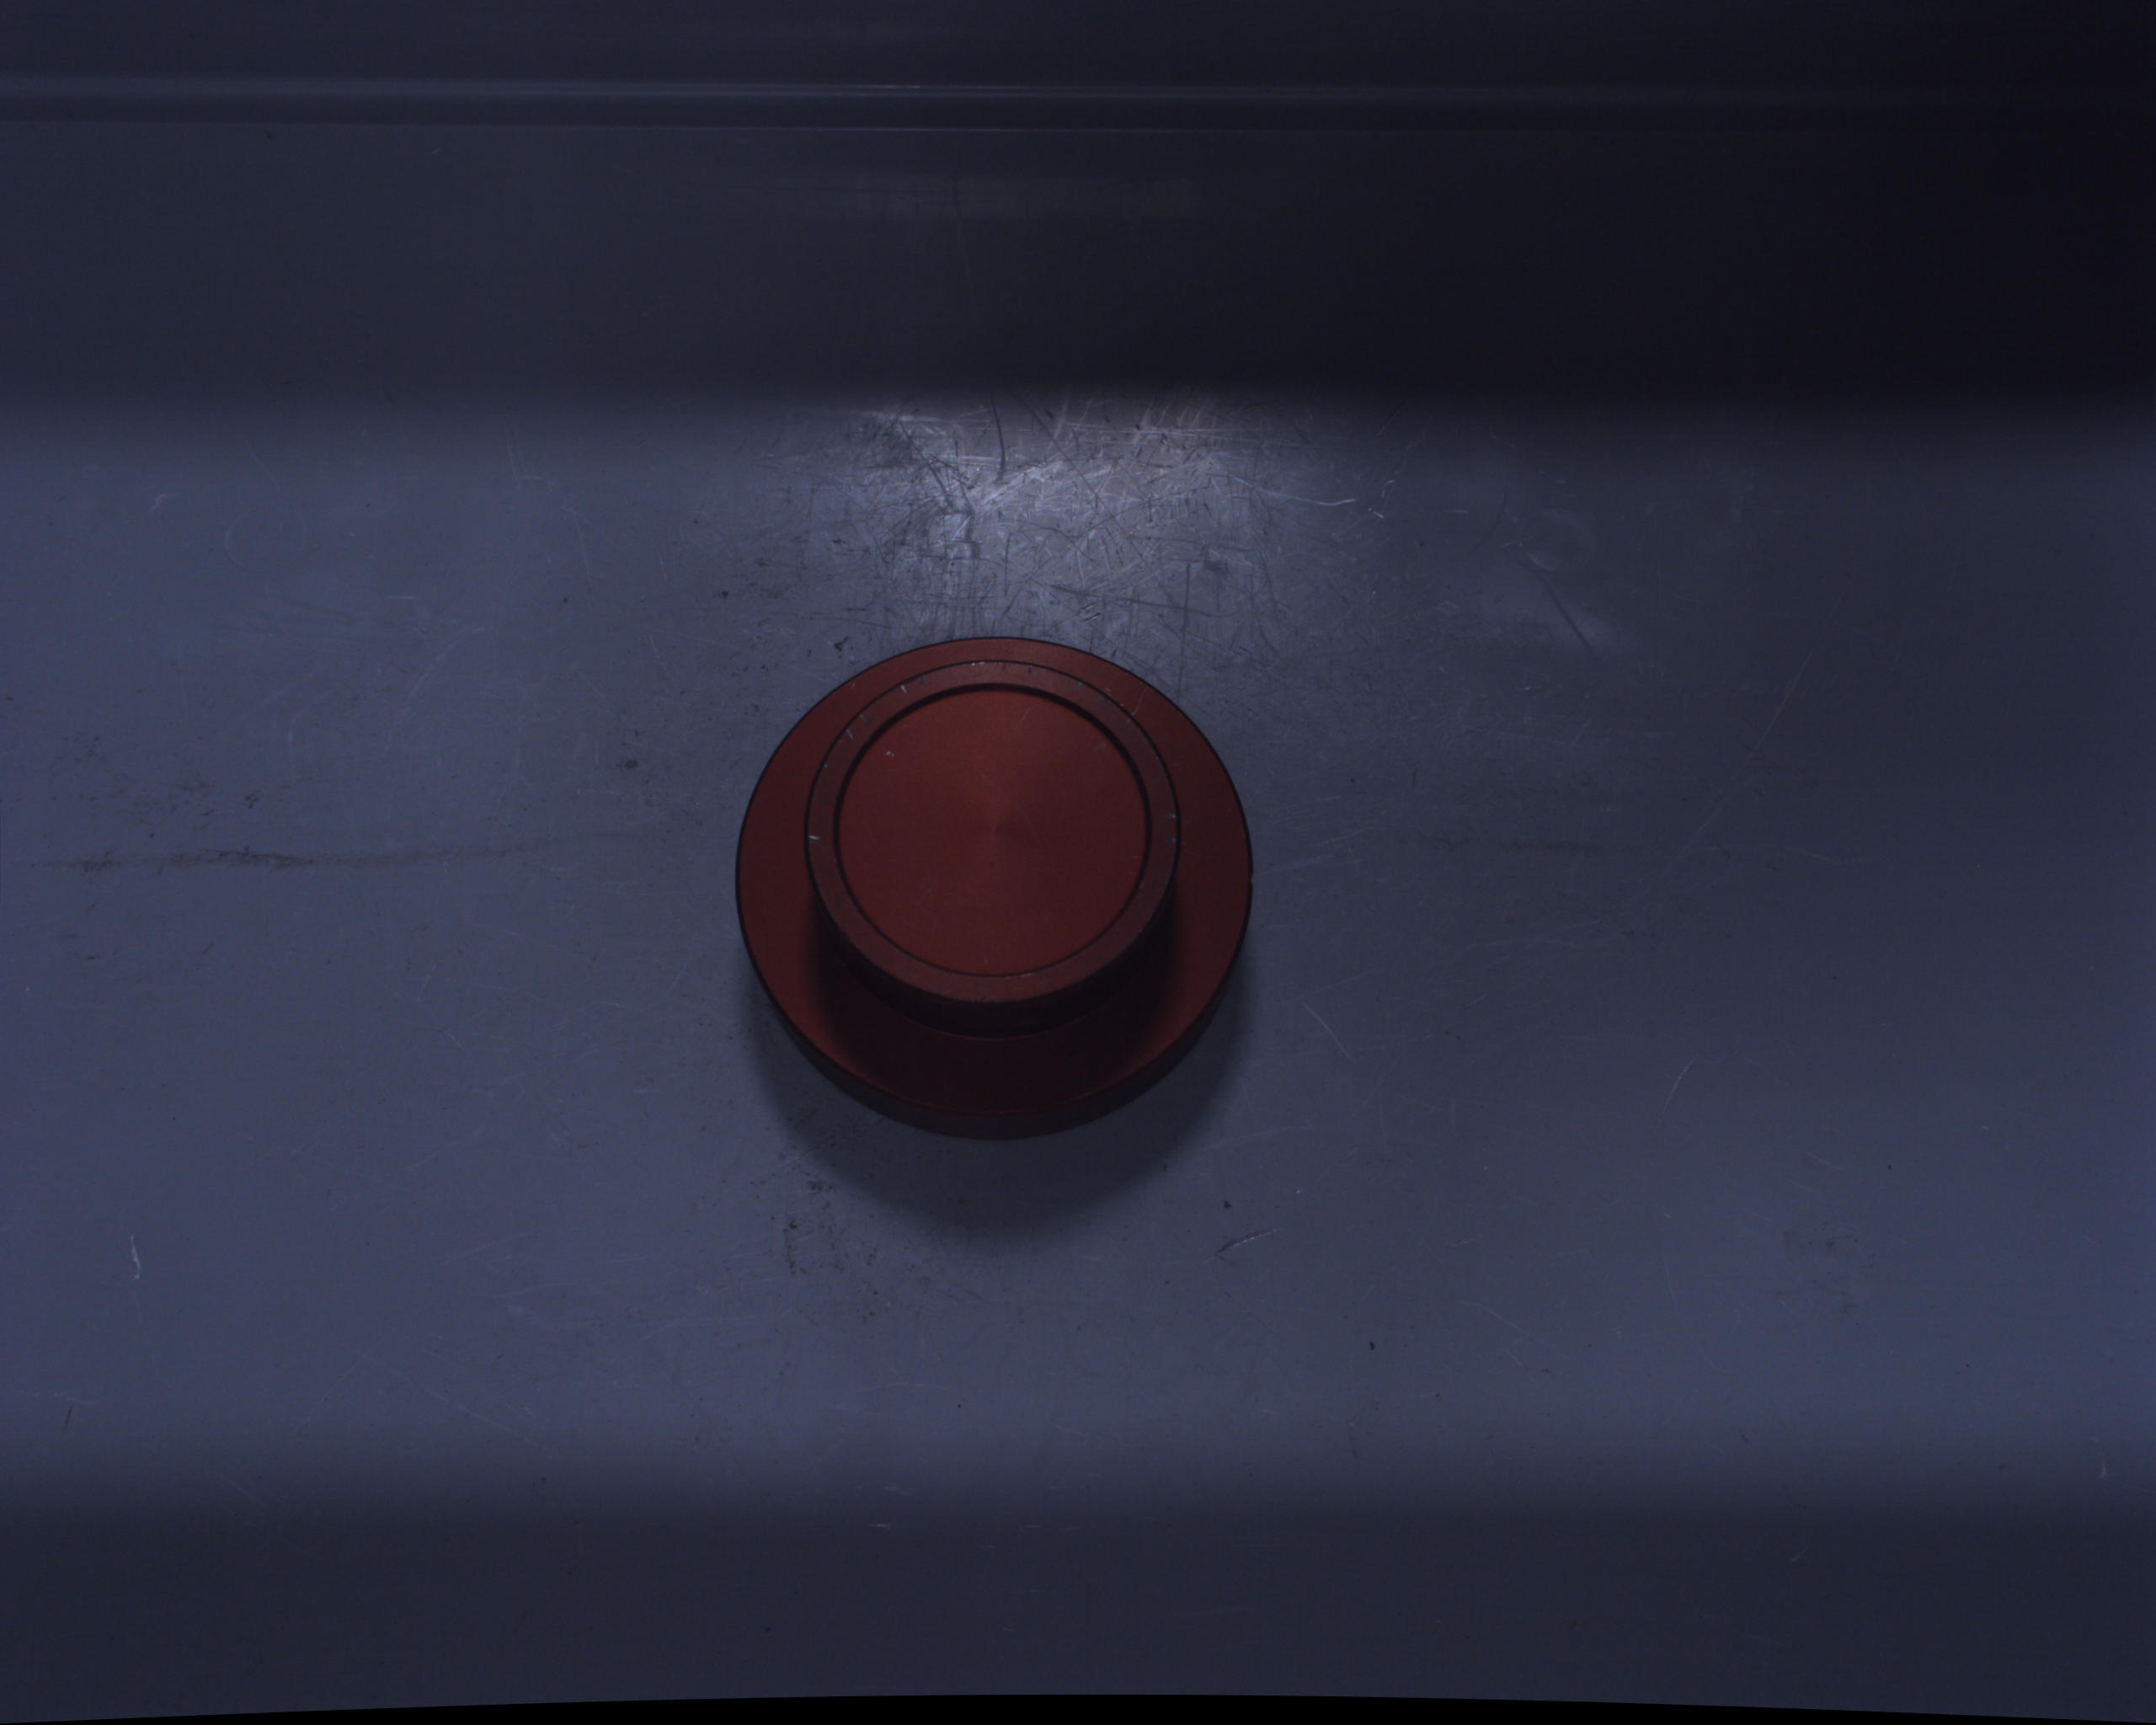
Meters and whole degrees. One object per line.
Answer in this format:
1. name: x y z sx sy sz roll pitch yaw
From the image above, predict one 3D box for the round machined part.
1. round machined part: -0.016 0.001 0.396 0.099 0.042 0.098 0 70 -1
